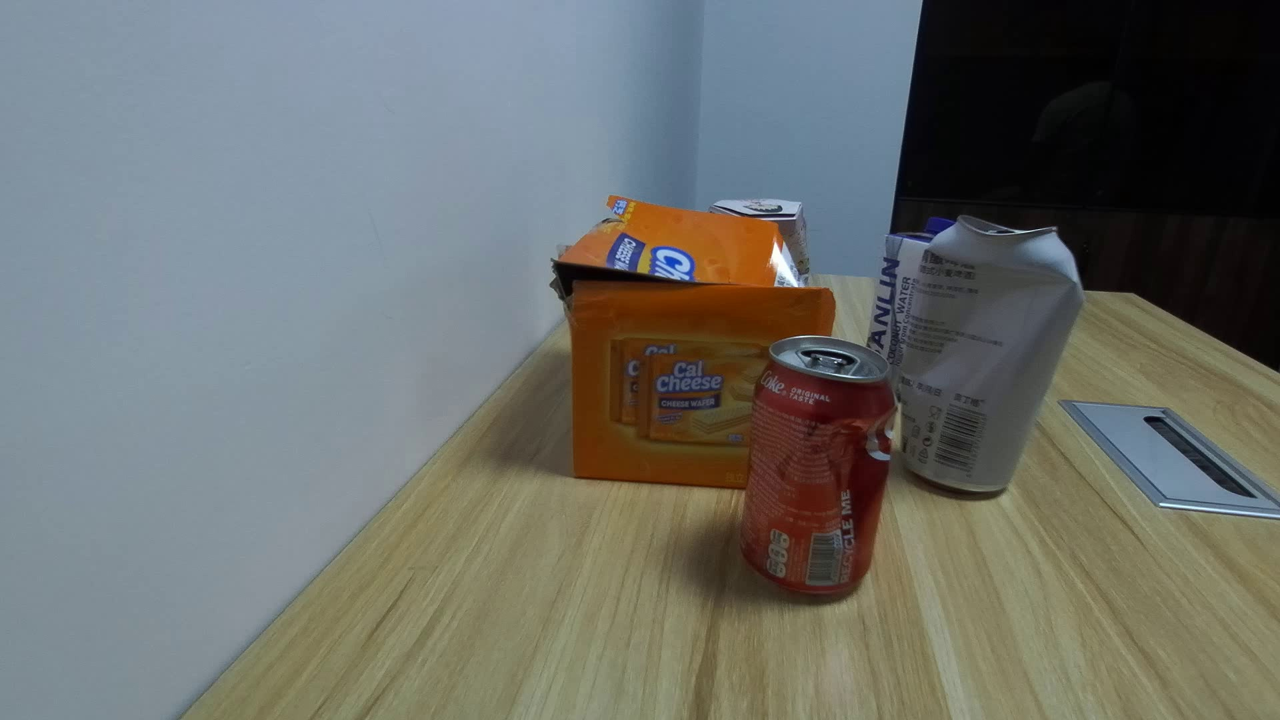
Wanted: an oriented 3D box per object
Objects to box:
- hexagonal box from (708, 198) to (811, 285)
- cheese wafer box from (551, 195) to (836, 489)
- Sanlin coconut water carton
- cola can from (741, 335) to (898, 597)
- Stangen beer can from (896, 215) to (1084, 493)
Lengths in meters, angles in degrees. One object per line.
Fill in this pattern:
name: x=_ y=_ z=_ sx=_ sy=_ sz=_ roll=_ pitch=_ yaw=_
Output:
hexagonal box: x=0.108 y=-0.079 z=0.665 sx=0.091 sy=0.134 sz=0.090 roll=14 pitch=28 yaw=25
cheese wafer box: x=0.049 y=-0.027 z=0.505 sx=0.191 sy=0.145 sz=0.219 roll=3 pitch=20 yaw=4
Sanlin coconut water carton: x=0.263 y=-0.053 z=0.671 sx=0.057 sy=0.078 sz=0.142 roll=-11 pitch=25 yaw=24
cola can: x=0.085 y=0.050 z=0.340 sx=0.066 sy=0.117 sz=0.066 roll=-11 pitch=24 yaw=-32
Stangen beer can: x=0.204 y=-0.001 z=0.425 sx=0.077 sy=0.162 sz=0.065 roll=2 pitch=21 yaw=-1
